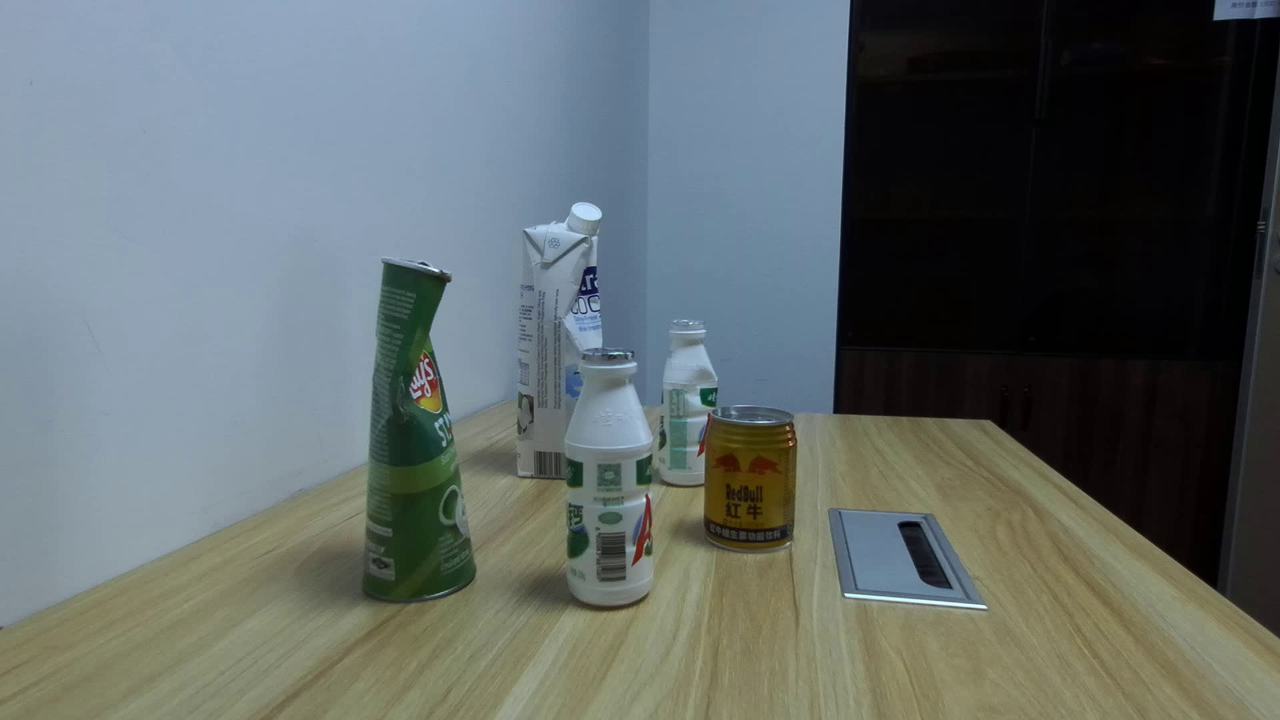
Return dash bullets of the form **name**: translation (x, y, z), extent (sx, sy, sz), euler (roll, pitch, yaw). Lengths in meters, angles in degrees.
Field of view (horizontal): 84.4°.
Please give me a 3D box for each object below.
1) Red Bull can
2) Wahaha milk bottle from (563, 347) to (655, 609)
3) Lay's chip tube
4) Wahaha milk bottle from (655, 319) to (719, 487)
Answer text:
- **Red Bull can**: translation (0.080, 0.084, 0.514), extent (0.067, 0.093, 0.067), euler (1, 7, 0)
- **Wahaha milk bottle**: translation (-0.018, 0.068, 0.420), extent (0.053, 0.147, 0.053), euler (0, 8, 0)
- **Lay's chip tube**: translation (-0.138, 0.040, 0.434), extent (0.077, 0.201, 0.069), euler (8, 10, 39)
- **Wahaha milk bottle**: translation (0.044, 0.038, 0.648), extent (0.055, 0.149, 0.055), euler (2, 13, 0)
